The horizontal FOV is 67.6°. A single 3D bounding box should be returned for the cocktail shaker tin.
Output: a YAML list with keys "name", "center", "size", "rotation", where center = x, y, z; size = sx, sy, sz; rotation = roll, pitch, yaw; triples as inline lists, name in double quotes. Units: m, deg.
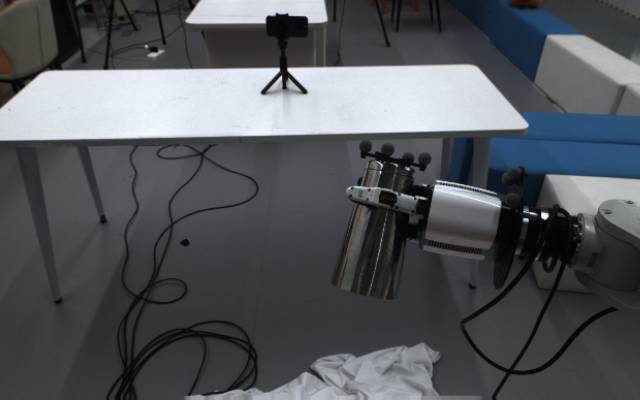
- name: "cocktail shaker tin"
  center: [0.081, 0.034, 0.650]
  size: [0.093, 0.170, 0.093]
  rotation: [13, 1, 0]
